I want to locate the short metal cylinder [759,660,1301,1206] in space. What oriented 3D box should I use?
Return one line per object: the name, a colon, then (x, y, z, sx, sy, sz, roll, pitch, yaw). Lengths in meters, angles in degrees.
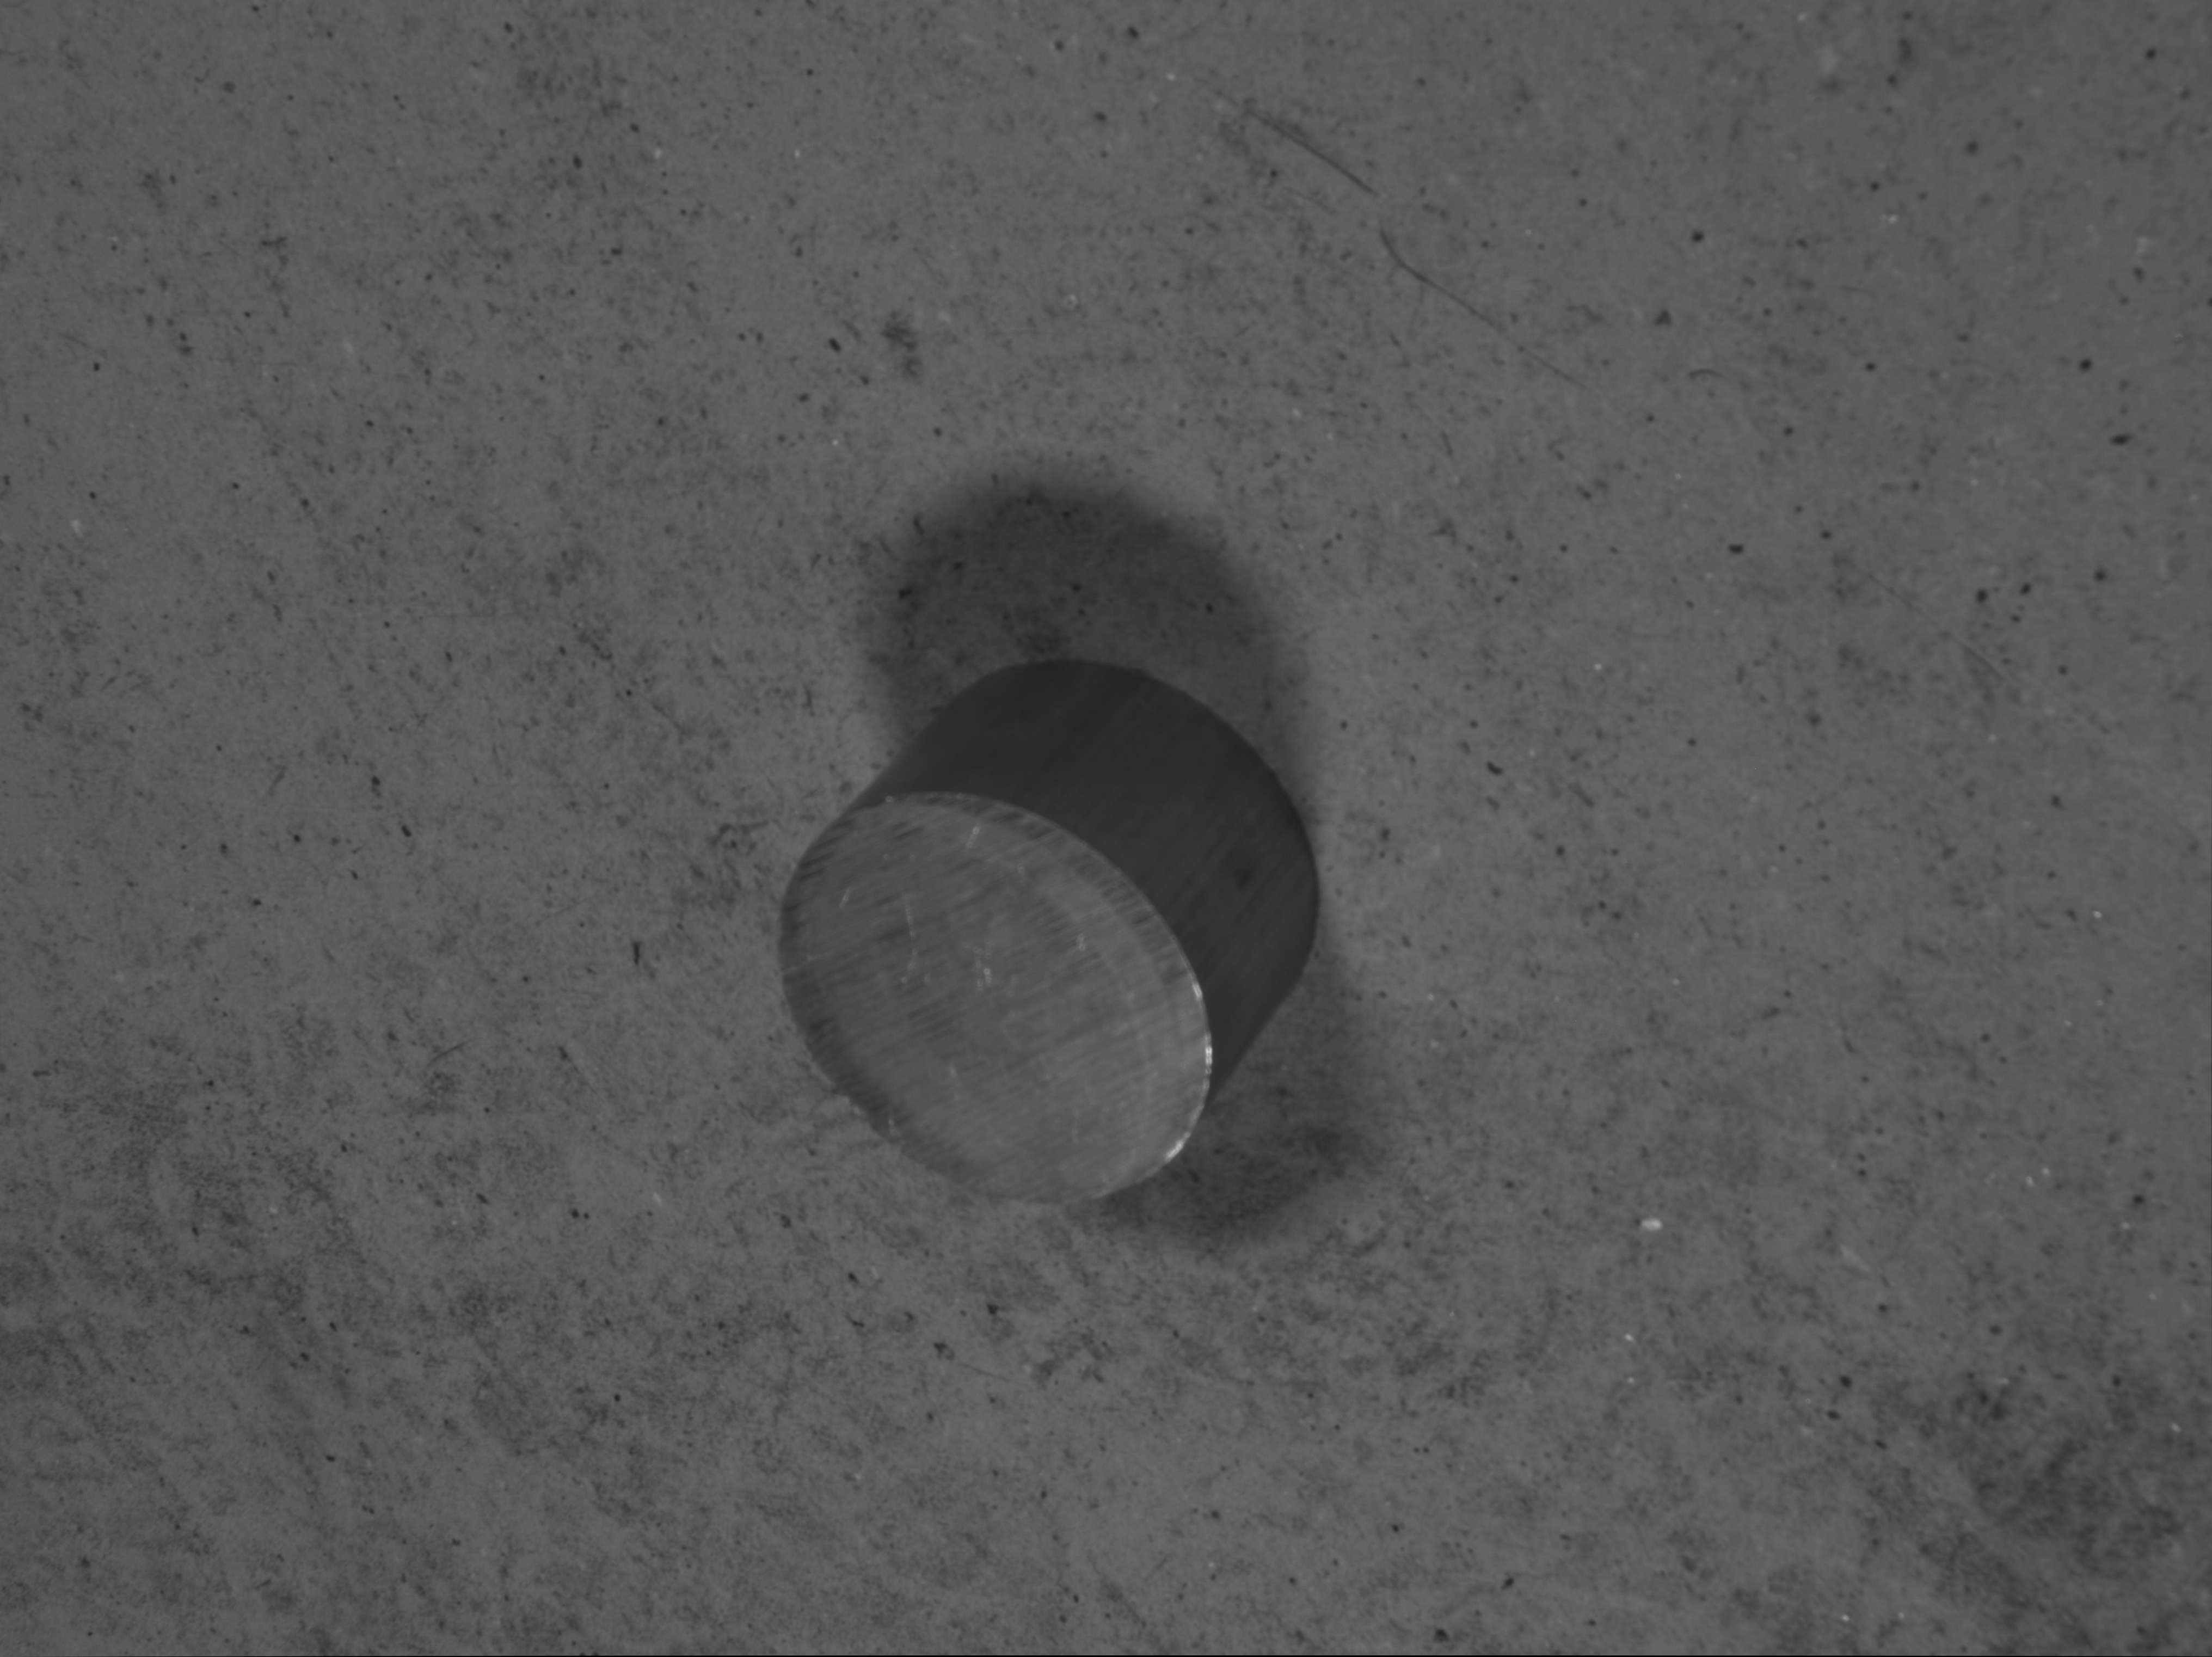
short metal cylinder: (-0.013, 0.018, 0.632, 0.080, 0.050, 0.080, 12, 123, 20)
